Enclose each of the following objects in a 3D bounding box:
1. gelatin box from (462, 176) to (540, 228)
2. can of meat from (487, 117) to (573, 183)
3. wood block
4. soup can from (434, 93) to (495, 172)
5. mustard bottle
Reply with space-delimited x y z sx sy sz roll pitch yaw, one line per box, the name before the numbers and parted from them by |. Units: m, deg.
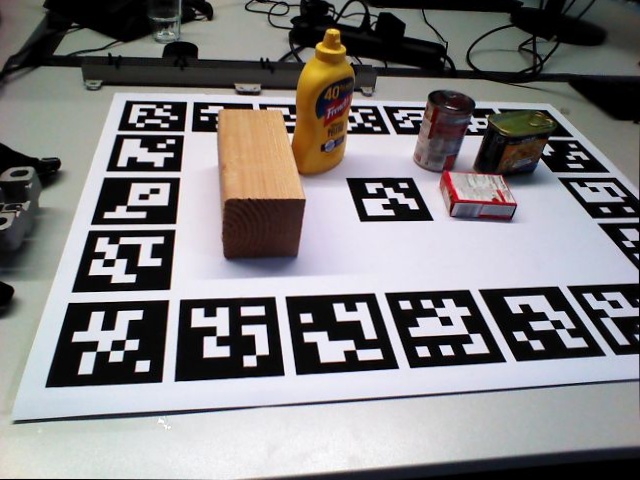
gelatin box | 0.246 -0.053 0.709 0.089 0.030 0.073 4 43 0
can of meat | 0.311 -0.132 0.776 0.101 0.084 0.057 -9 44 -22
wood block | -0.061 -0.070 0.645 0.091 0.090 0.205 1 37 -10
soup can | 0.214 -0.159 0.765 0.068 0.102 0.067 4 43 -4
mustard bottle | 0.026 -0.176 0.708 0.096 0.192 0.058 -19 47 -29
